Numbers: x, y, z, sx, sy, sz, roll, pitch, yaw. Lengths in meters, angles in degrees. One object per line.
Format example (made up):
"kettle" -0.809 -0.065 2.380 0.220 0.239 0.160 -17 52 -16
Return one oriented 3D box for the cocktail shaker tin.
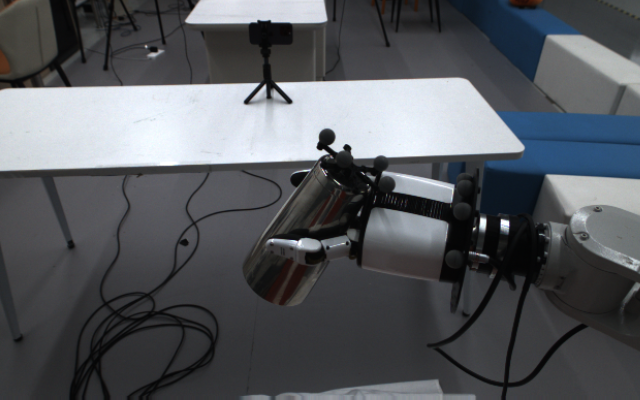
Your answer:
"cocktail shaker tin" -0.012 0.028 0.559 0.093 0.170 0.093 26 32 -18
